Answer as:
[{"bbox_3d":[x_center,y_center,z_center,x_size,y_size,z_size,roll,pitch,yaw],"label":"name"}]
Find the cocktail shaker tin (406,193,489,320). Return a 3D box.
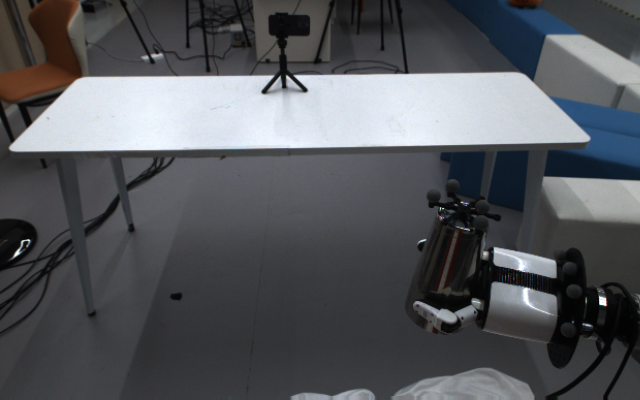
[{"bbox_3d":[0.175,0.087,0.656,0.093,0.170,0.093,3,34,-2],"label":"cocktail shaker tin"}]
